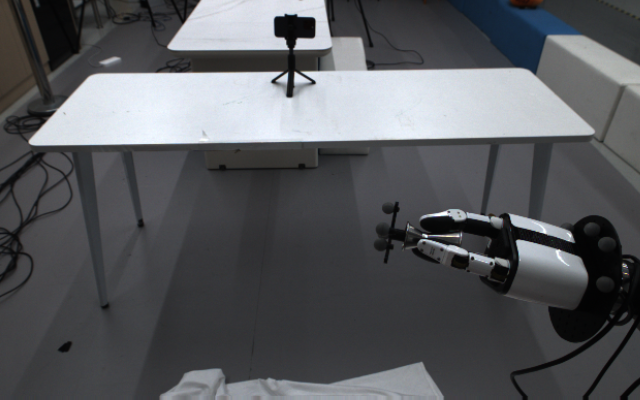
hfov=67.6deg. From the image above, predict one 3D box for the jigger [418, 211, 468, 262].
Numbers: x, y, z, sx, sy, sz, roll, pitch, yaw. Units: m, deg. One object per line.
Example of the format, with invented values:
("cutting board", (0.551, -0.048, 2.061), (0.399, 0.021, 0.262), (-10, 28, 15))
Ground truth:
("jigger", (0.148, 0.047, 0.618), (0.071, 0.043, 0.043), (10, 35, 9))
